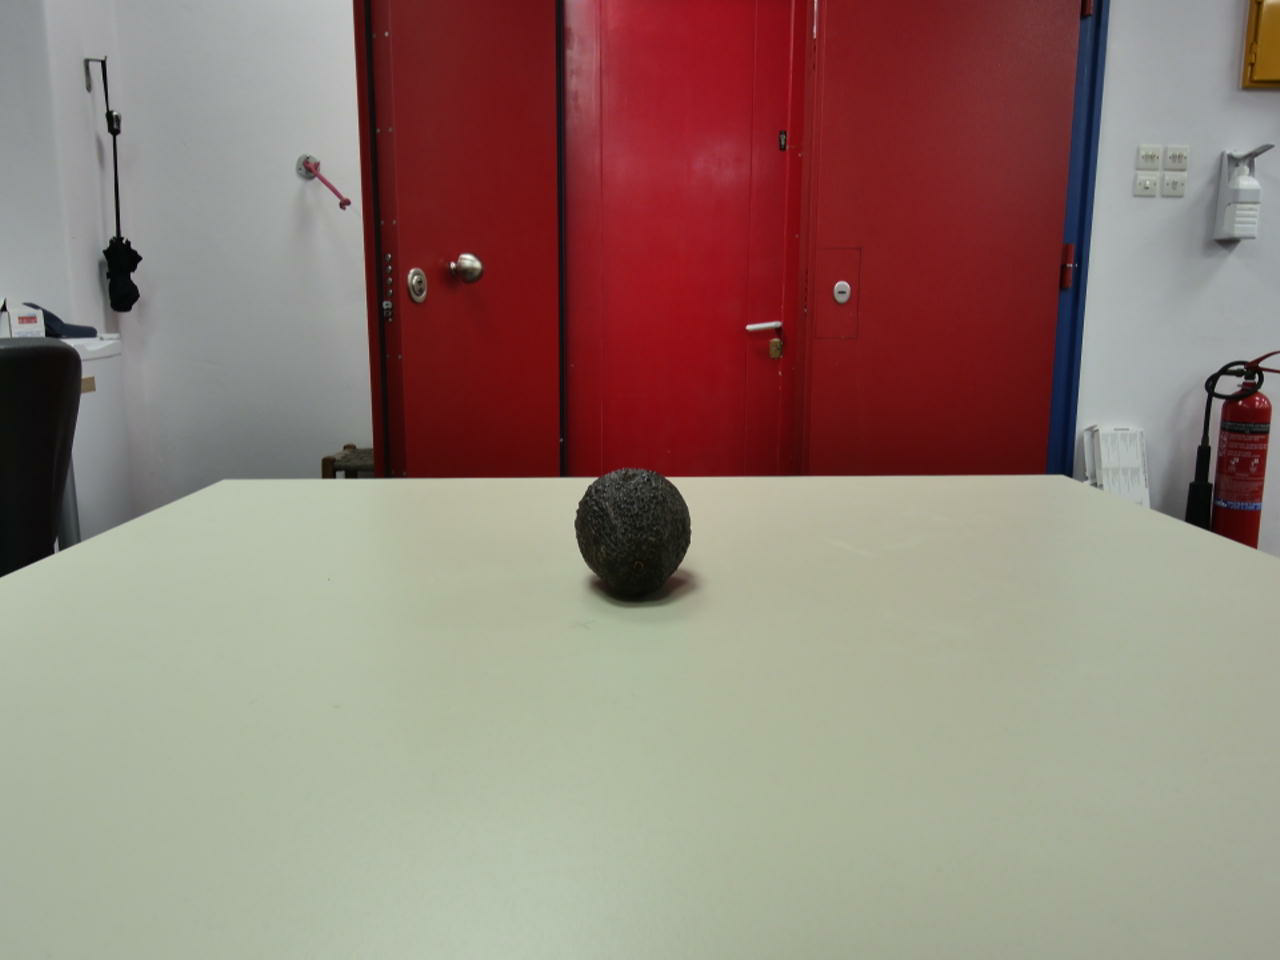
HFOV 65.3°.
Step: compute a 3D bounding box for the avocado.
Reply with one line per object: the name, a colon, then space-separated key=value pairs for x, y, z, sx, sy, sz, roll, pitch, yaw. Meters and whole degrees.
avocado: x=-0.006 y=0.028 z=0.592 sx=0.070 sy=0.069 sz=0.090 roll=5 pitch=8 yaw=24
